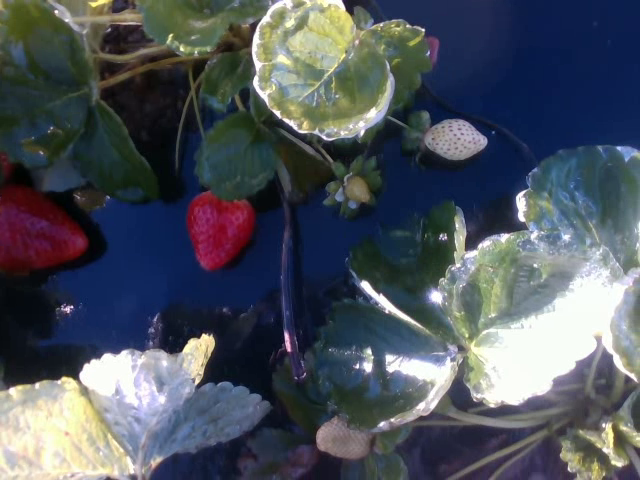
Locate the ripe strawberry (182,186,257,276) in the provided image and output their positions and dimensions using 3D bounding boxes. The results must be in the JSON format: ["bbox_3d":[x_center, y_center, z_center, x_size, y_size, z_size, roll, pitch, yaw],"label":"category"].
[{"bbox_3d":[-0.048,-0.004,0.294,0.039,0.047,0.040,9,-3,-7],"label":"ripe strawberry"}]

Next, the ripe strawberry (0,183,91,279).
[{"bbox_3d":[-0.142,-0.001,0.299,0.056,0.044,0.040,20,6,-8],"label":"ripe strawberry"}]
